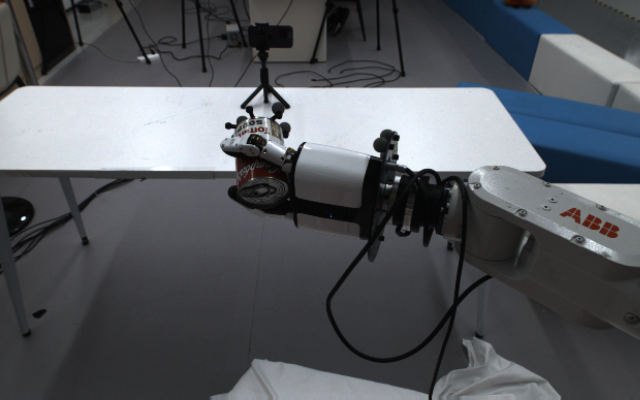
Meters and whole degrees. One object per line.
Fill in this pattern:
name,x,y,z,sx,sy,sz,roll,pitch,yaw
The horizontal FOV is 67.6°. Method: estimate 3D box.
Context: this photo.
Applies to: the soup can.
soup can,-0.075,-0.049,0.626,0.067,0.067,0.101,-5,57,-10
